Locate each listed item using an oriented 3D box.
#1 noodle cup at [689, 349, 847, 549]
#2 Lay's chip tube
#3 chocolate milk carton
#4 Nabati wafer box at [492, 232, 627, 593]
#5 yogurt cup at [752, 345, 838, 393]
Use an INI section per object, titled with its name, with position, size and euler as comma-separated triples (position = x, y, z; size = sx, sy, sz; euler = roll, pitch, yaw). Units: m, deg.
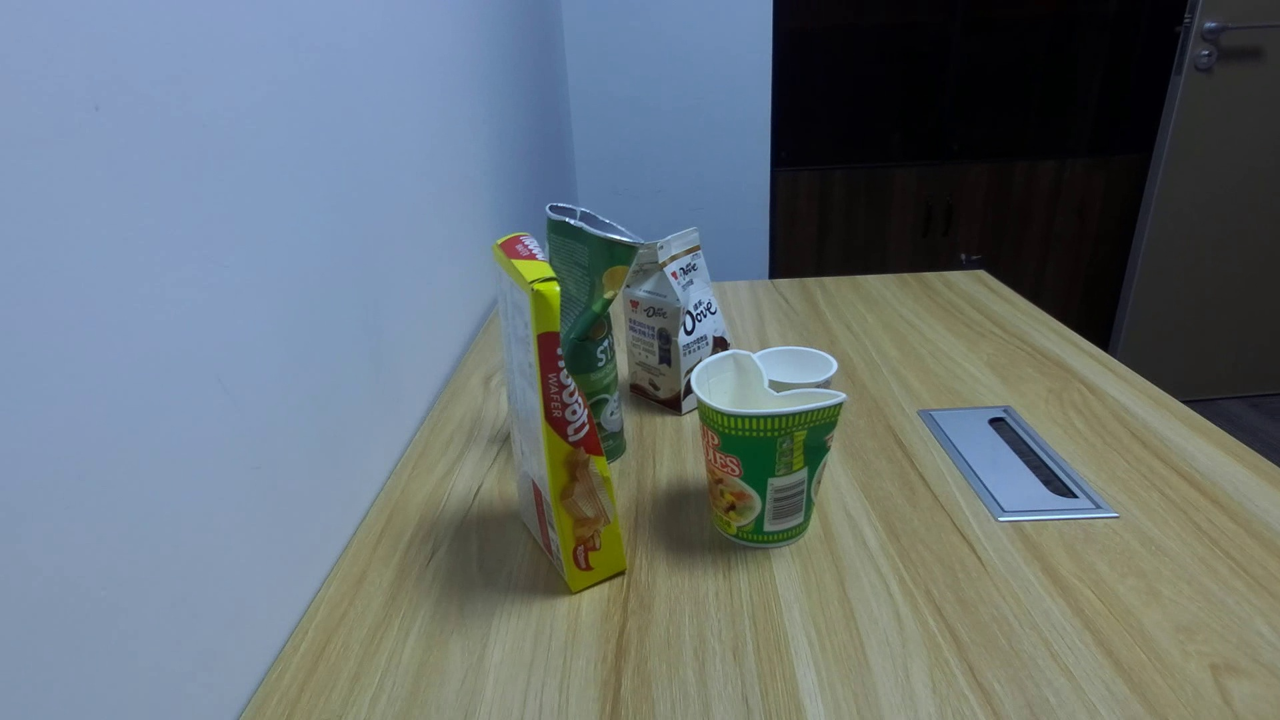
[noodle cup]
position = 0.077, 0.060, 0.469
size = 0.087, 0.109, 0.093
euler = -9, 26, -12
[Lay's chip tube]
position = -0.040, -0.016, 0.554
size = 0.071, 0.199, 0.079
euler = -2, 25, -15
[chocolate milk carton]
position = 0.037, -0.040, 0.647
size = 0.084, 0.155, 0.072
euler = -23, 30, -37
[Nabati wafer box]
position = -0.051, 0.034, 0.436
size = 0.043, 0.205, 0.113
euler = -15, 27, -21
[yogurt cup]
position = 0.126, 0.031, 0.576
size = 0.072, 0.068, 0.072
euler = -2, 29, 1
